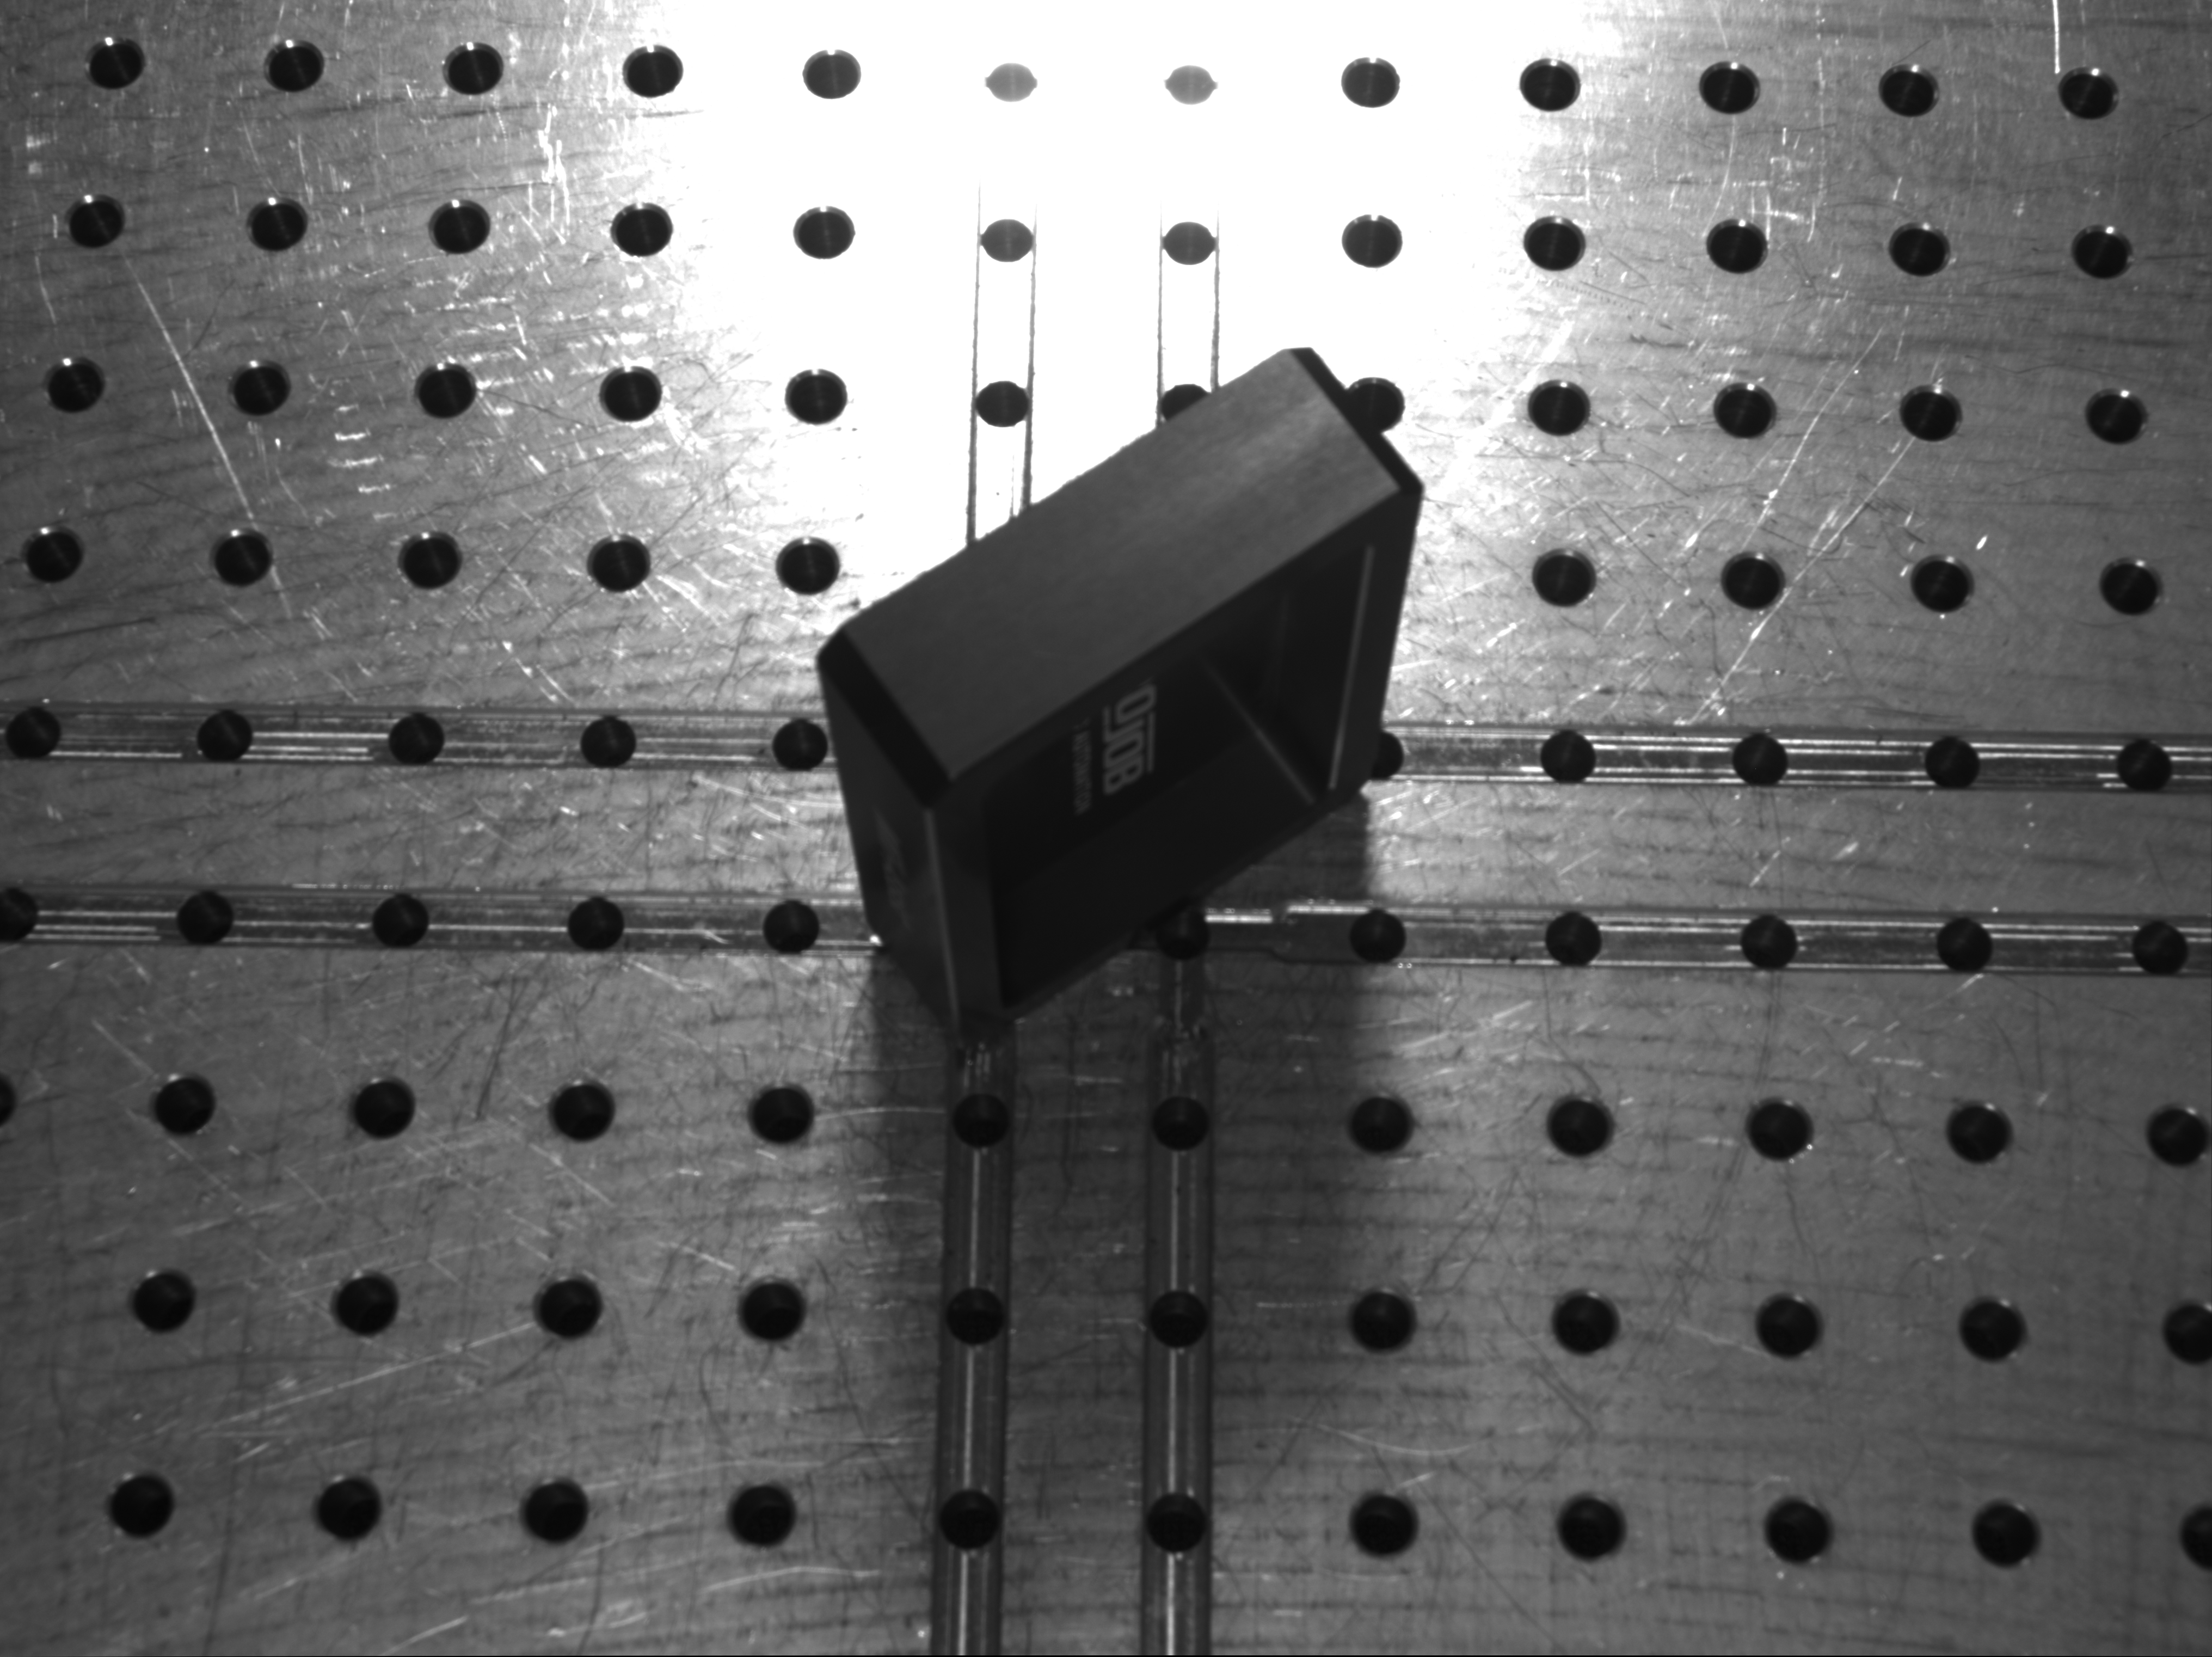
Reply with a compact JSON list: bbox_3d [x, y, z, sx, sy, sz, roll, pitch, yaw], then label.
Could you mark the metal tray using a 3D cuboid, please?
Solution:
[{"bbox_3d":[0.004,-0.017,0.598,0.090,0.130,0.030,-33,73,-11],"label":"metal tray"}]
